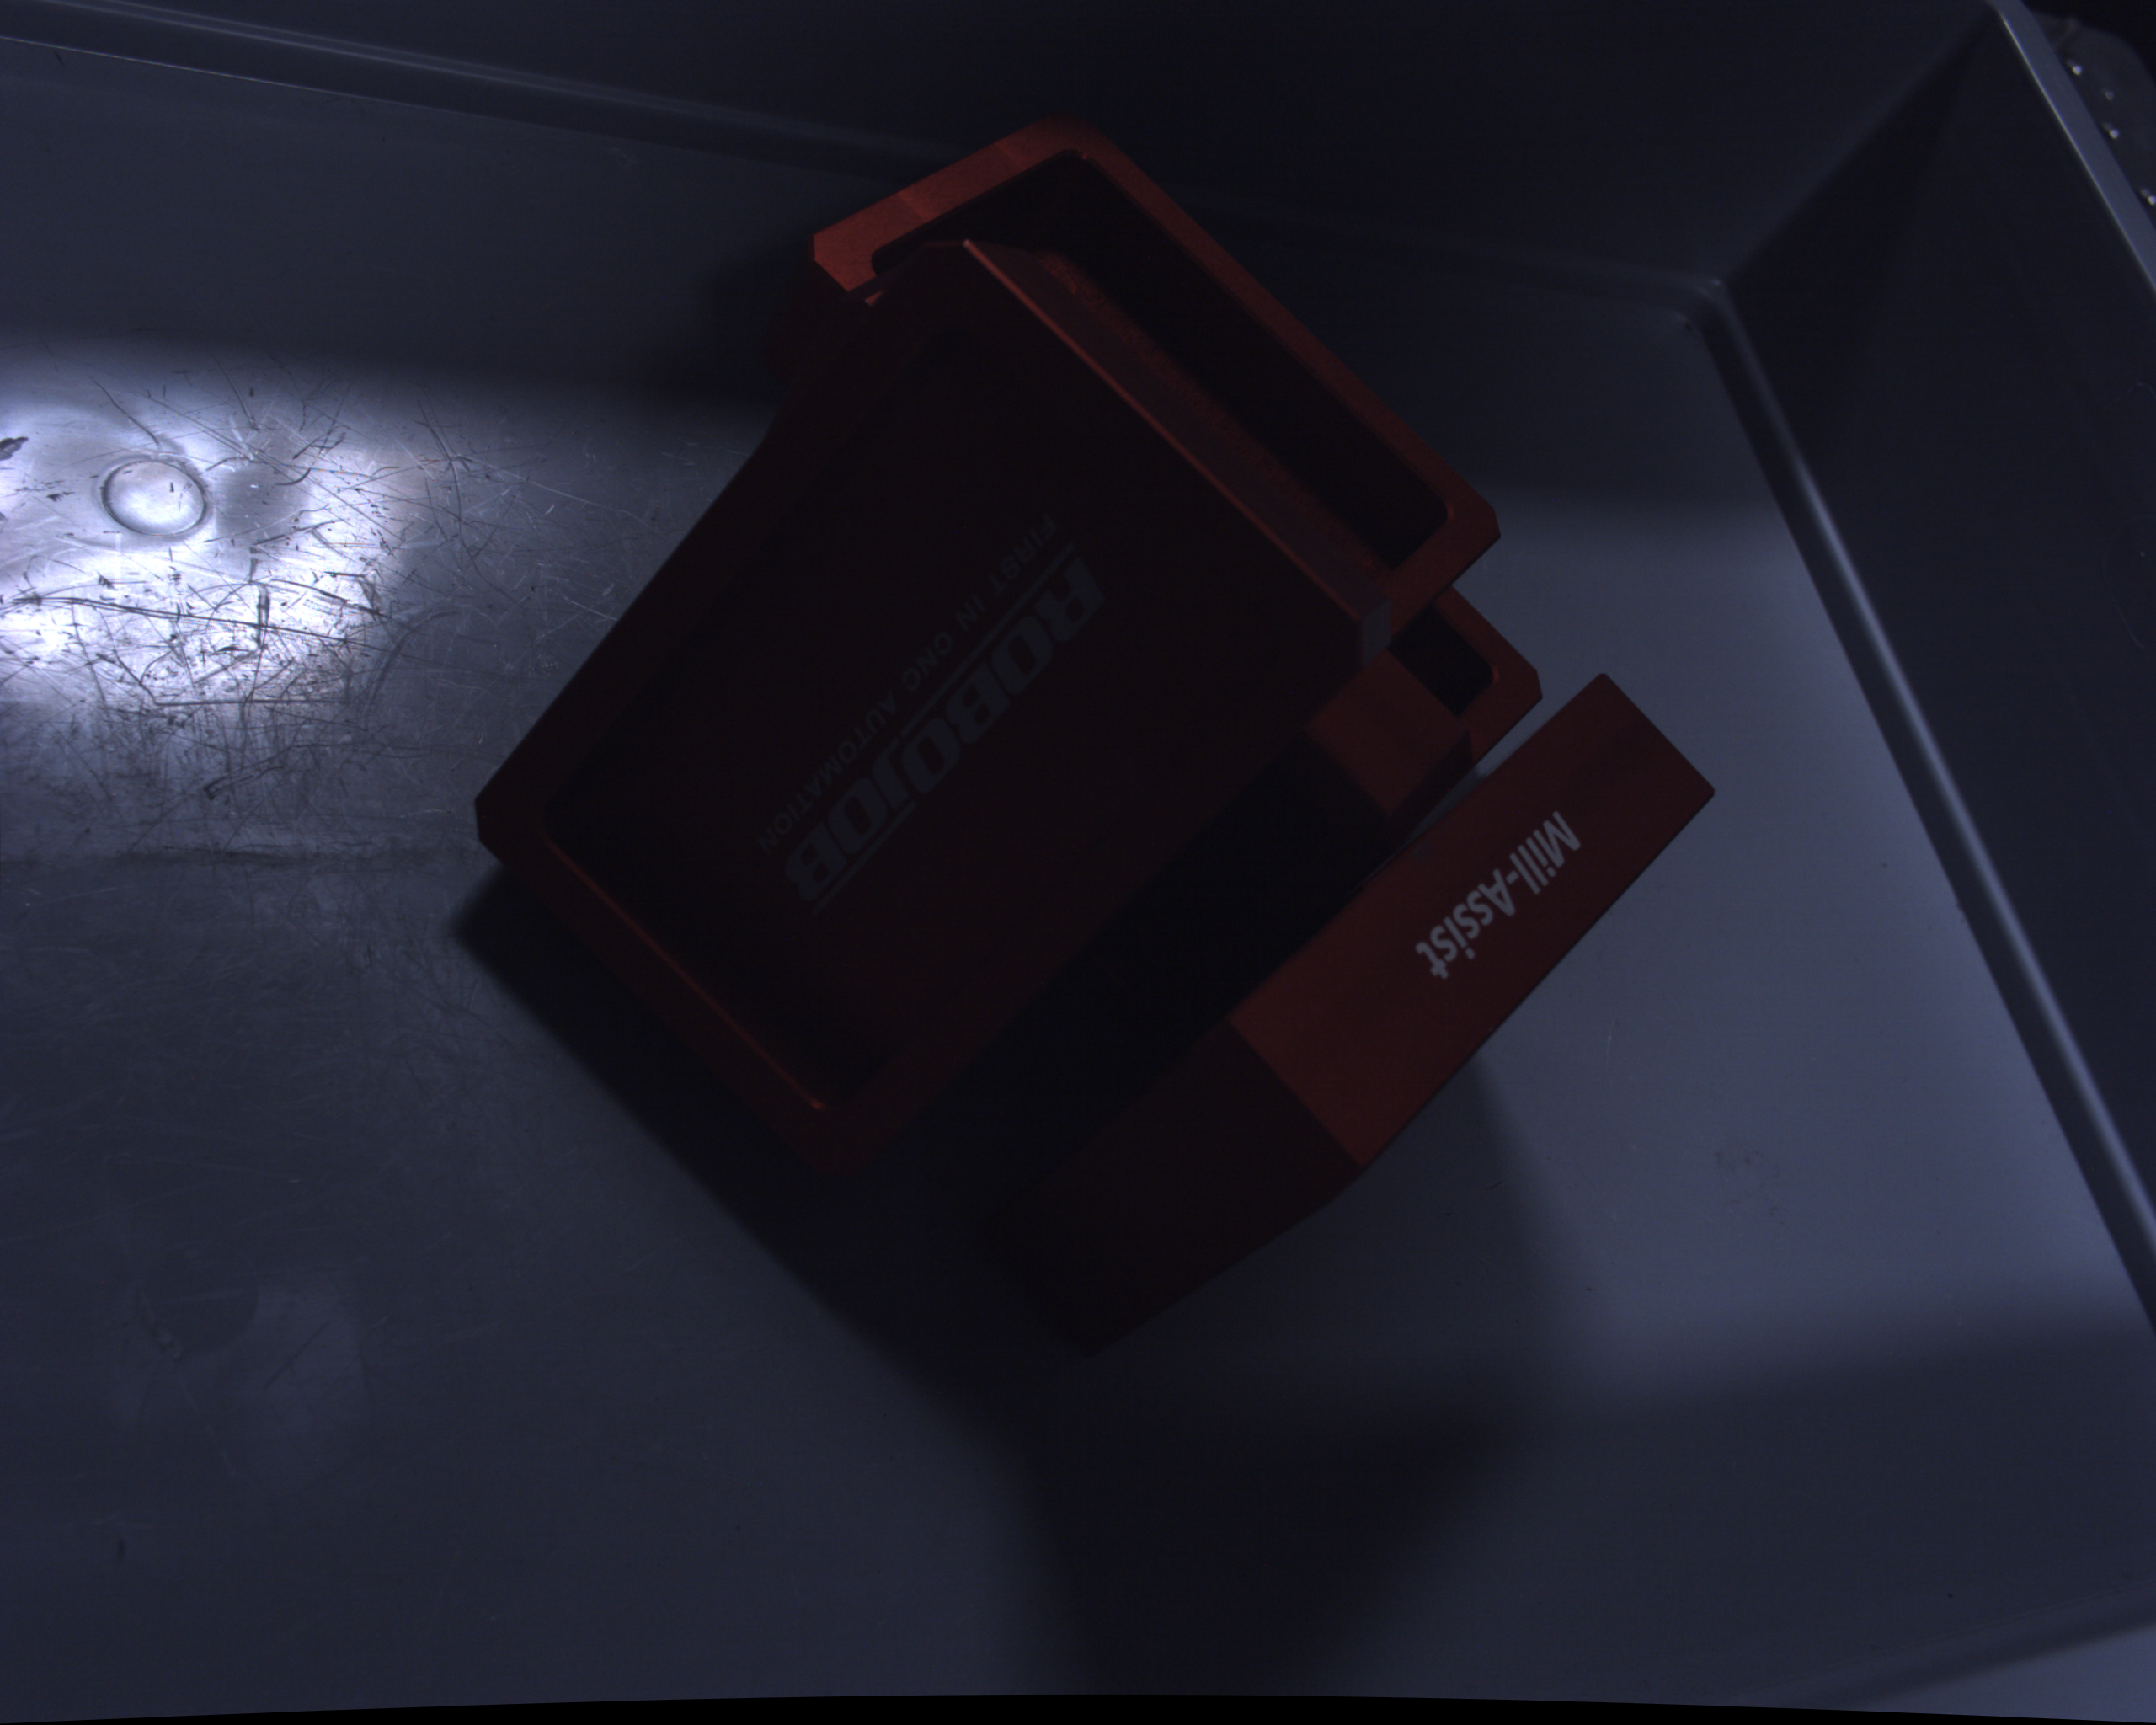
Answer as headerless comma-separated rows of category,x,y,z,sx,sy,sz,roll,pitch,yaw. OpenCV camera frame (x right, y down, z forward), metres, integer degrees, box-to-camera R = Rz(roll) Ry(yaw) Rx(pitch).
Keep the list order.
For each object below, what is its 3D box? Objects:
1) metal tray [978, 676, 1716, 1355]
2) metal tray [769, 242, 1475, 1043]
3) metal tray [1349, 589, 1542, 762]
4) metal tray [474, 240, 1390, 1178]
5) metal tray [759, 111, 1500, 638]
metal tray,0.049,0.026,0.374,0.030,0.090,0.131,49,51,5
metal tray,-0.003,-0.037,0.383,0.130,0.090,0.030,45,51,2
metal tray,0.028,-0.057,0.453,0.130,0.030,0.091,46,52,5
metal tray,-0.026,-0.023,0.339,0.090,0.130,0.030,45,20,2
metal tray,0.012,-0.085,0.422,0.130,0.030,0.090,45,51,3
